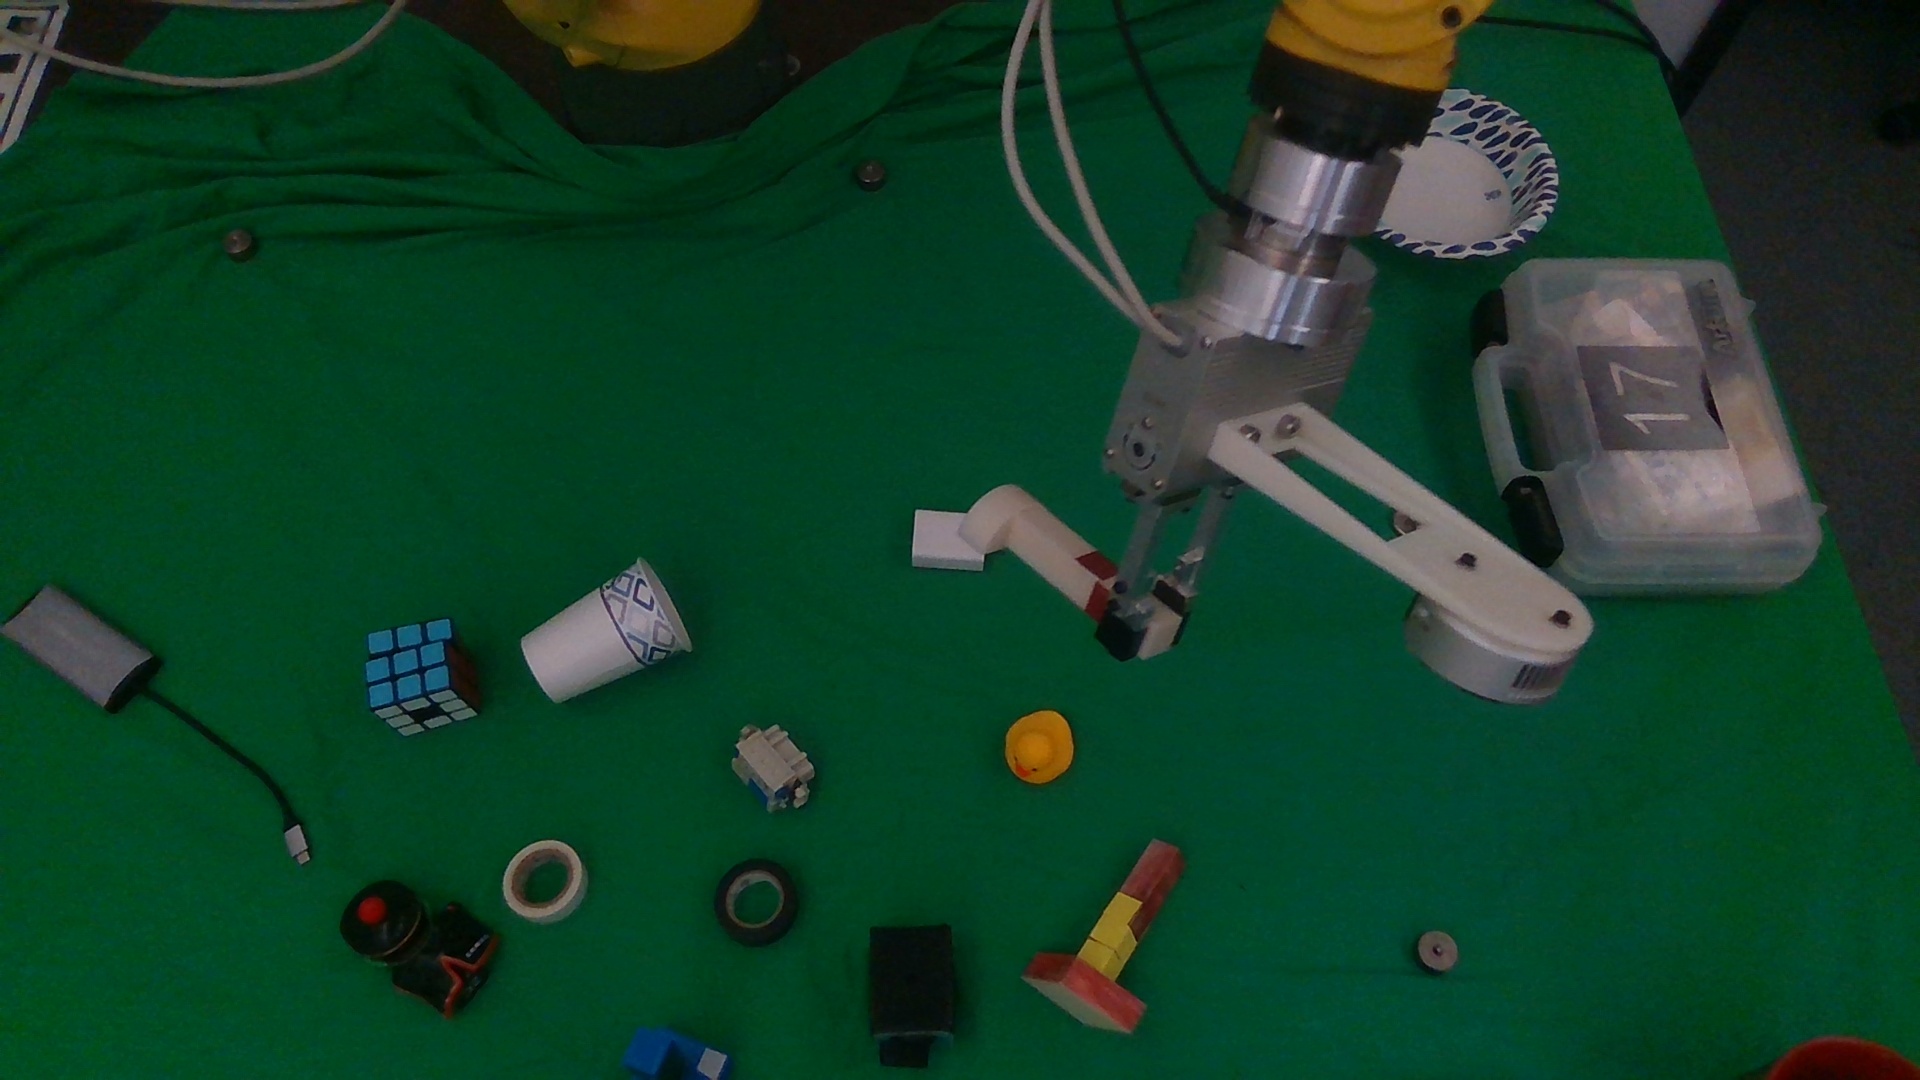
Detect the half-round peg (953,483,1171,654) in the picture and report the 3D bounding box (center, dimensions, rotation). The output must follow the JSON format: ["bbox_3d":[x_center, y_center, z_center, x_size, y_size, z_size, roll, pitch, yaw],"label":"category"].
[{"bbox_3d":[0.054,0.014,0.686,0.054,0.031,0.122,-17,45,-40],"label":"half-round peg"}]

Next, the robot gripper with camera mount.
[{"bbox_3d":[0.163,0.024,0.577,0.118,0.159,0.194,-19,45,-43],"label":"robot gripper with camera mount"}]
